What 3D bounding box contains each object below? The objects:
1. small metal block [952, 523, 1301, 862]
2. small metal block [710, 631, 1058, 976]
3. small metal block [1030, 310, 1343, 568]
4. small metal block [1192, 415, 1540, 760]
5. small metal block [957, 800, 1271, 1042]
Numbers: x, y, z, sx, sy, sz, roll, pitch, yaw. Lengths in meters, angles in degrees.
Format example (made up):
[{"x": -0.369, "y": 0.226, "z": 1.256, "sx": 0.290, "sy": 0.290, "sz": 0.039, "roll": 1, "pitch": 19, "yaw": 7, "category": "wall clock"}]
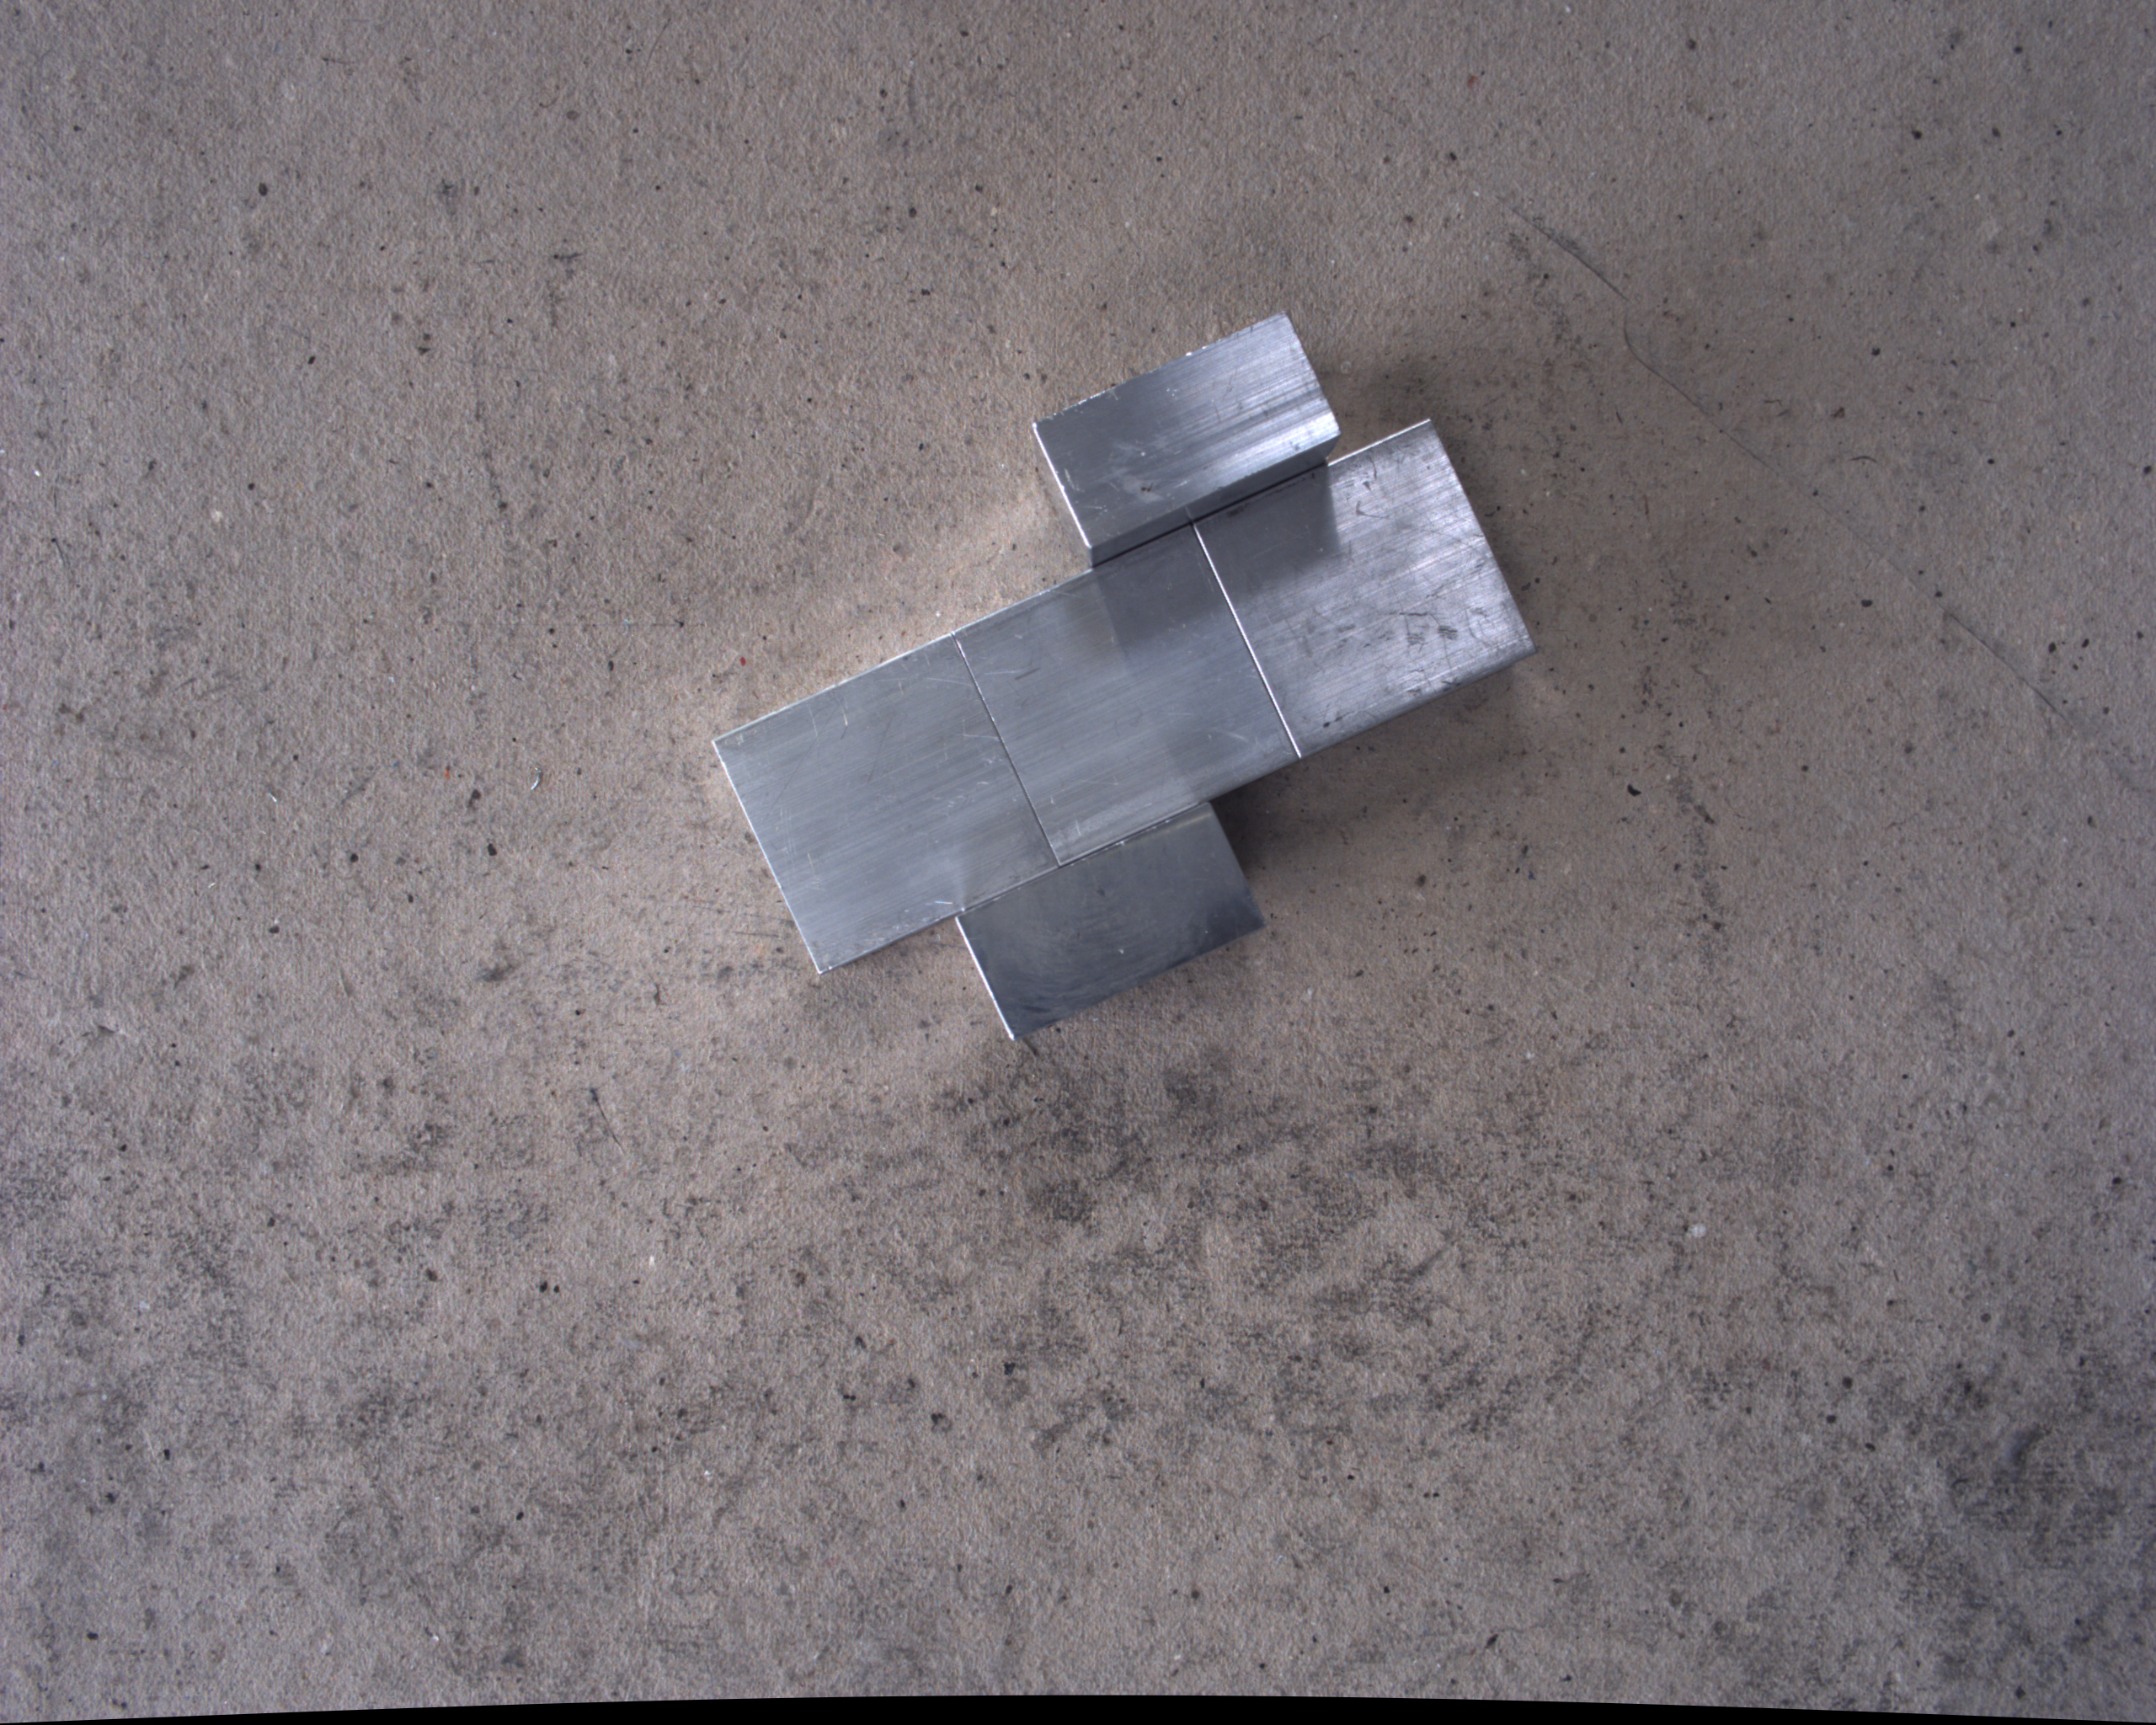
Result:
[{"x": 0.009, "y": -0.032, "z": 0.411, "sx": 0.050, "sy": 0.025, "sz": 0.050, "roll": -25, "pitch": 91, "yaw": 0, "category": "small metal block"}, {"x": -0.037, "y": -0.011, "z": 0.410, "sx": 0.050, "sy": 0.025, "sz": 0.050, "roll": -25, "pitch": 91, "yaw": 0, "category": "small metal block"}, {"x": 0.020, "y": -0.078, "z": 0.399, "sx": 0.050, "sy": 0.050, "sz": 0.025, "roll": -24, "pitch": 90, "yaw": 1, "category": "small metal block"}, {"x": 0.055, "y": -0.053, "z": 0.411, "sx": 0.050, "sy": 0.025, "sz": 0.050, "roll": -25, "pitch": 91, "yaw": 0, "category": "small metal block"}, {"x": 0.007, "y": 0.010, "z": 0.399, "sx": 0.050, "sy": 0.050, "sz": 0.025, "roll": -25, "pitch": 90, "yaw": 0, "category": "small metal block"}]
